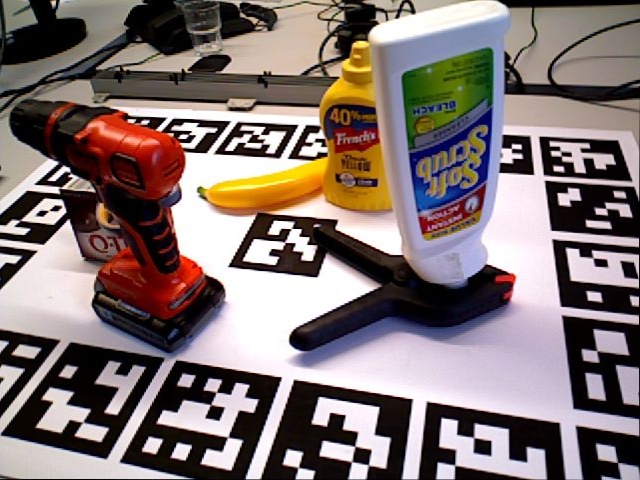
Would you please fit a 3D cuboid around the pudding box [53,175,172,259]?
[{"bbox_3d":[-0.221,-0.023,0.586,0.114,0.092,0.038,9,35,16],"label":"pudding box"}]

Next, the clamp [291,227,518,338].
[{"bbox_3d":[0.081,0.030,0.508,0.202,0.037,0.162,2,42,7],"label":"clamp"}]

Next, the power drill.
[{"bbox_3d":[-0.187,-0.025,0.461,0.185,0.191,0.056,13,36,24],"label":"power drill"}]

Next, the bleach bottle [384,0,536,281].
[{"bbox_3d":[0.113,-0.059,0.444,0.102,0.255,0.067,-11,35,3],"label":"bleach bottle"}]

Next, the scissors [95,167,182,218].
[{"bbox_3d":[-0.231,-0.078,0.551,0.203,0.016,0.086,28,53,27],"label":"scissors"}]

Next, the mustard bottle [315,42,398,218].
[{"bbox_3d":[0.042,-0.119,0.601,0.096,0.195,0.057,17,43,22],"label":"mustard bottle"}]

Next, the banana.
[{"bbox_3d":[-0.056,-0.087,0.678,0.194,0.039,0.074,-20,25,-17],"label":"banana"}]
